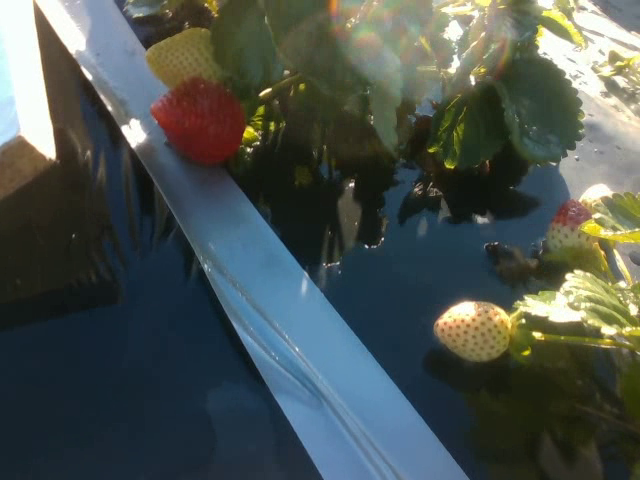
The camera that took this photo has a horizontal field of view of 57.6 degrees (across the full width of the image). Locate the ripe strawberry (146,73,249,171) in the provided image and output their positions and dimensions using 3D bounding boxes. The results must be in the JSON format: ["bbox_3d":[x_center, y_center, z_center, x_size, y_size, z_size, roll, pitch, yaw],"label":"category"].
[{"bbox_3d":[-0.061,-0.059,0.277,0.045,0.048,0.064,-9,3,21],"label":"ripe strawberry"}]
